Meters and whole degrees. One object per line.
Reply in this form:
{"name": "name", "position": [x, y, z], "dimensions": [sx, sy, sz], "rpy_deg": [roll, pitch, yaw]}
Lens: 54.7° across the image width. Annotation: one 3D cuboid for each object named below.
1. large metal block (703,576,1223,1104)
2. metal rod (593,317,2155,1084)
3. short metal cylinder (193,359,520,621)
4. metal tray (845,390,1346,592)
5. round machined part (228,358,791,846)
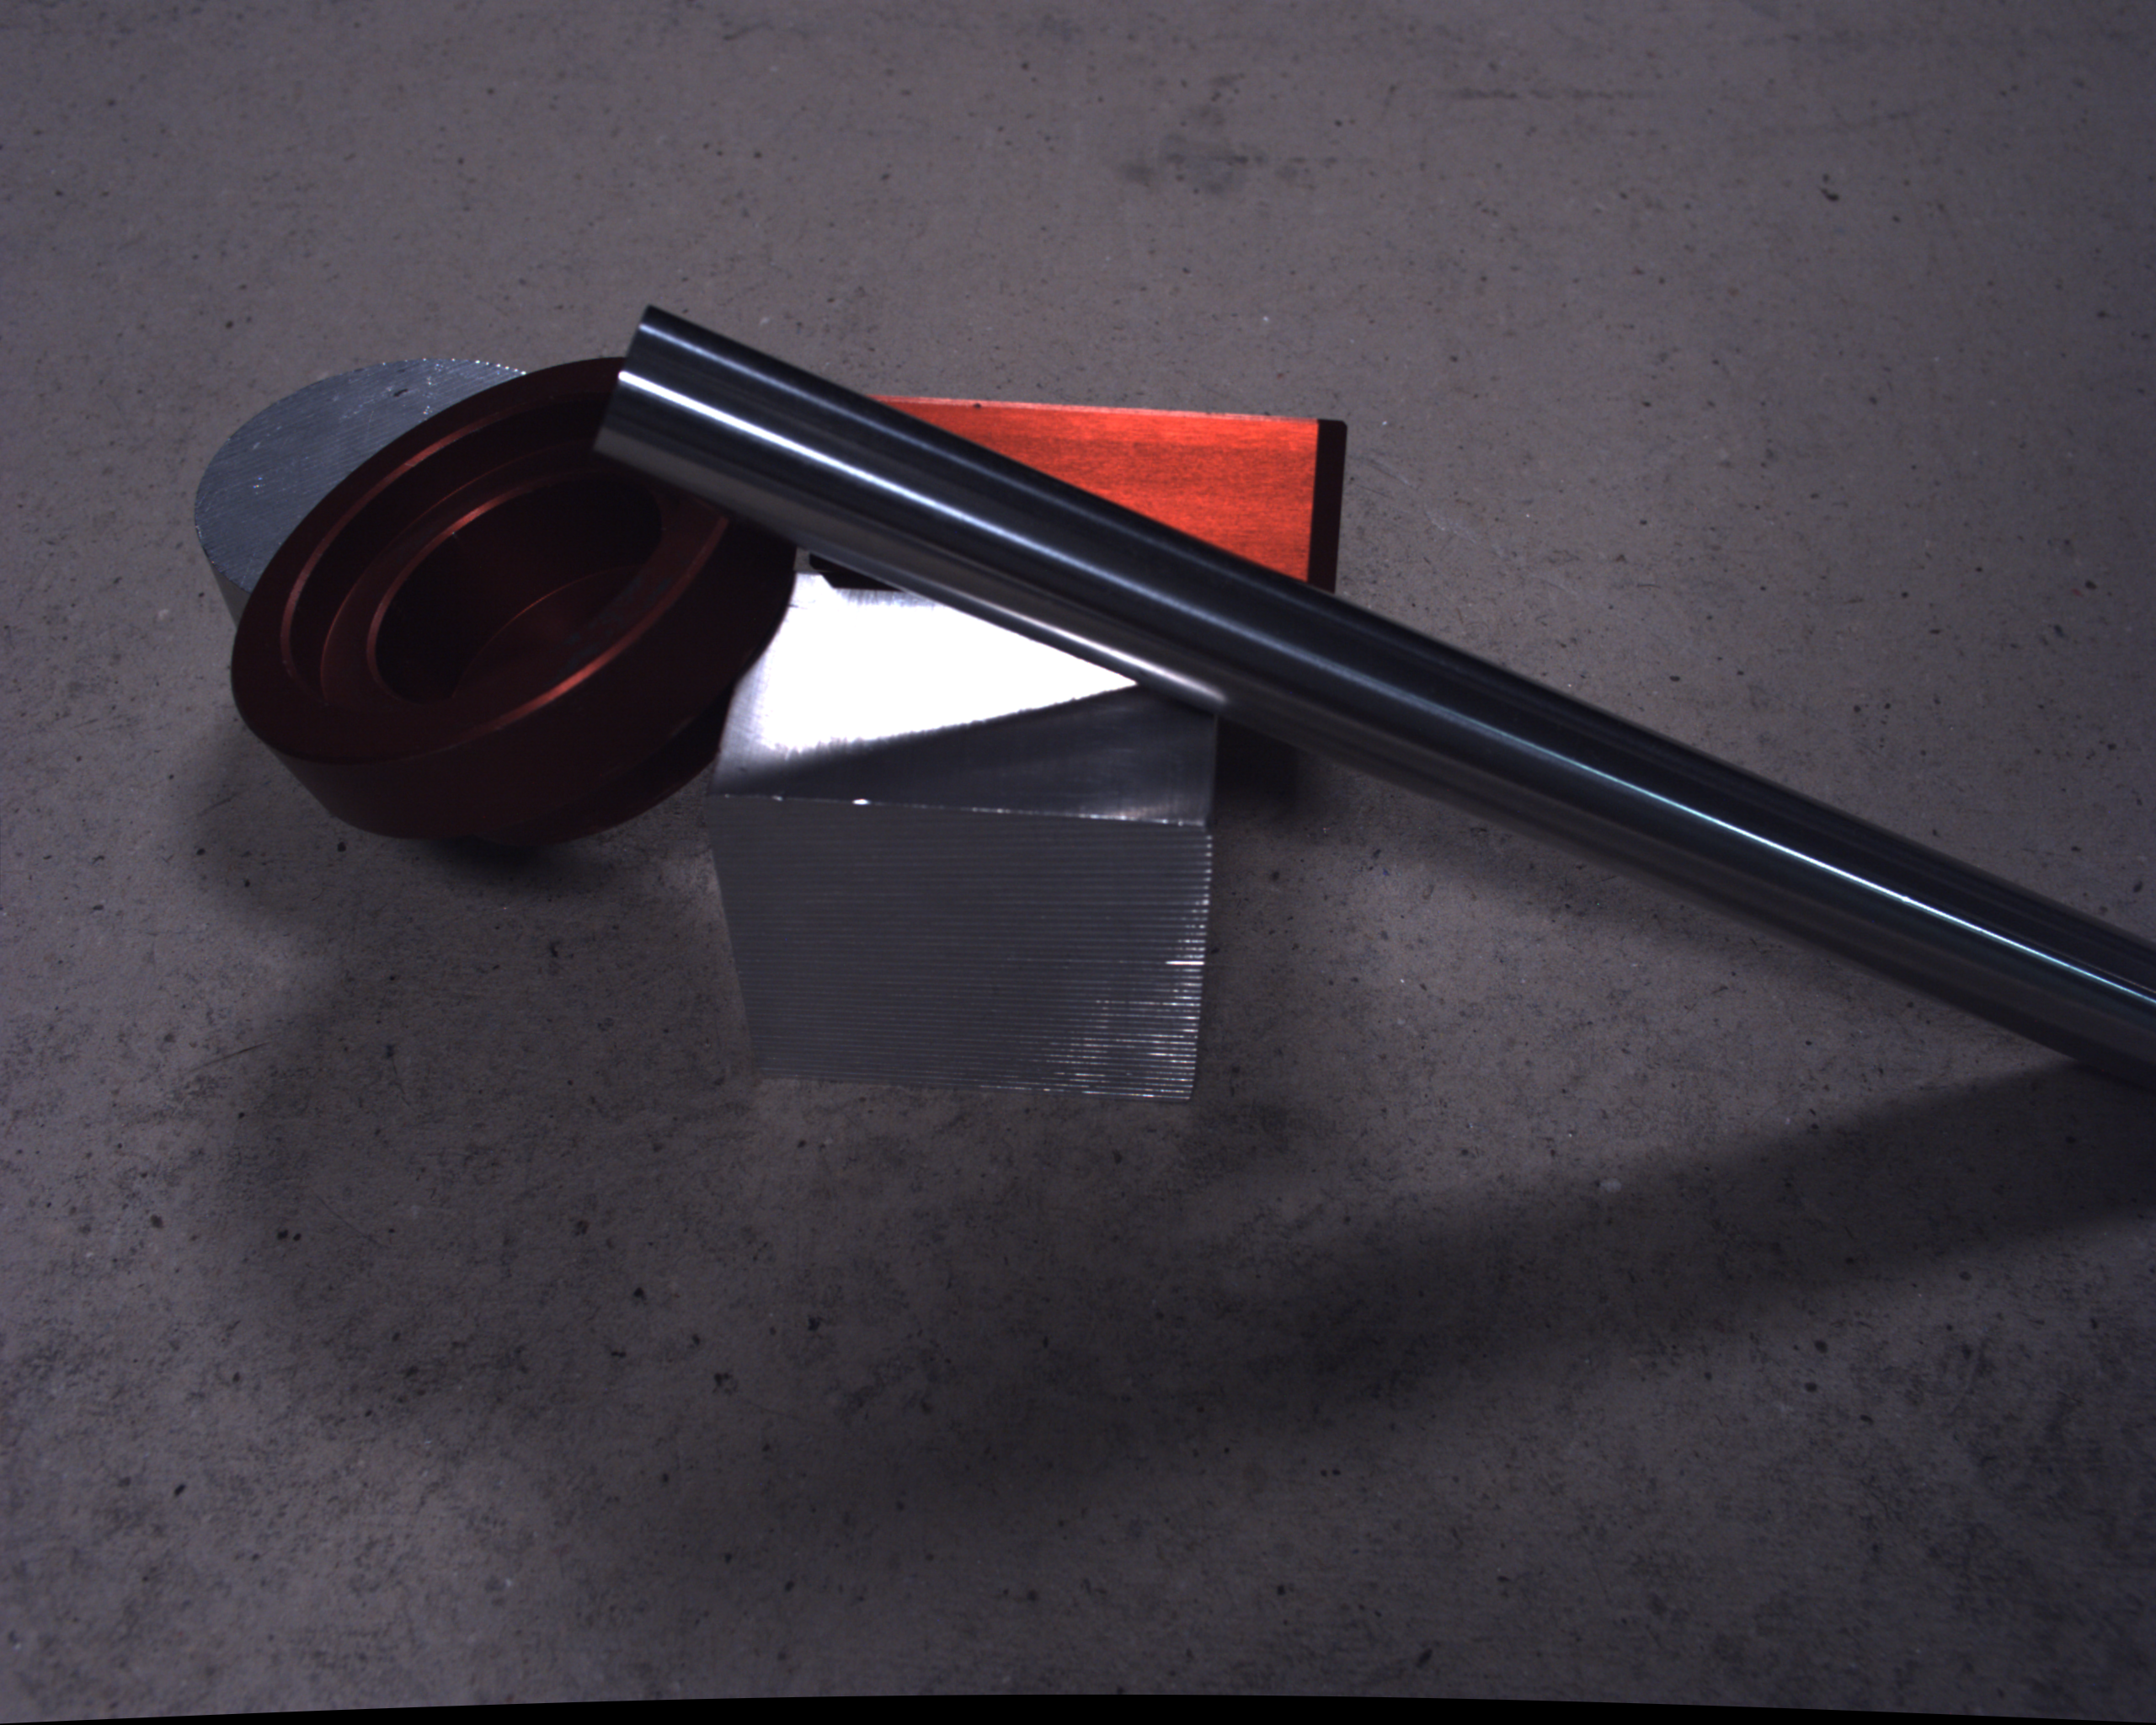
{"name": "large metal block", "position": [-0.017, -0.003, 0.370], "dimensions": [0.080, 0.080, 0.050], "rpy_deg": [4, 50, 2]}
{"name": "metal rod", "position": [0.070, -0.018, 0.345], "dimensions": [0.302, 0.025, 0.025], "rpy_deg": [20, 49, -15]}
{"name": "short metal cylinder", "position": [-0.136, -0.061, 0.438], "dimensions": [0.081, 0.050, 0.080], "rpy_deg": [0, 50, 0]}
{"name": "metal tray", "position": [0.003, -0.074, 0.414], "dimensions": [0.091, 0.030, 0.130], "rpy_deg": [4, 11, 3]}
{"name": "round machined part", "position": [-0.095, -0.042, 0.370], "dimensions": [0.098, 0.042, 0.098], "rpy_deg": [-13, 47, 15]}
